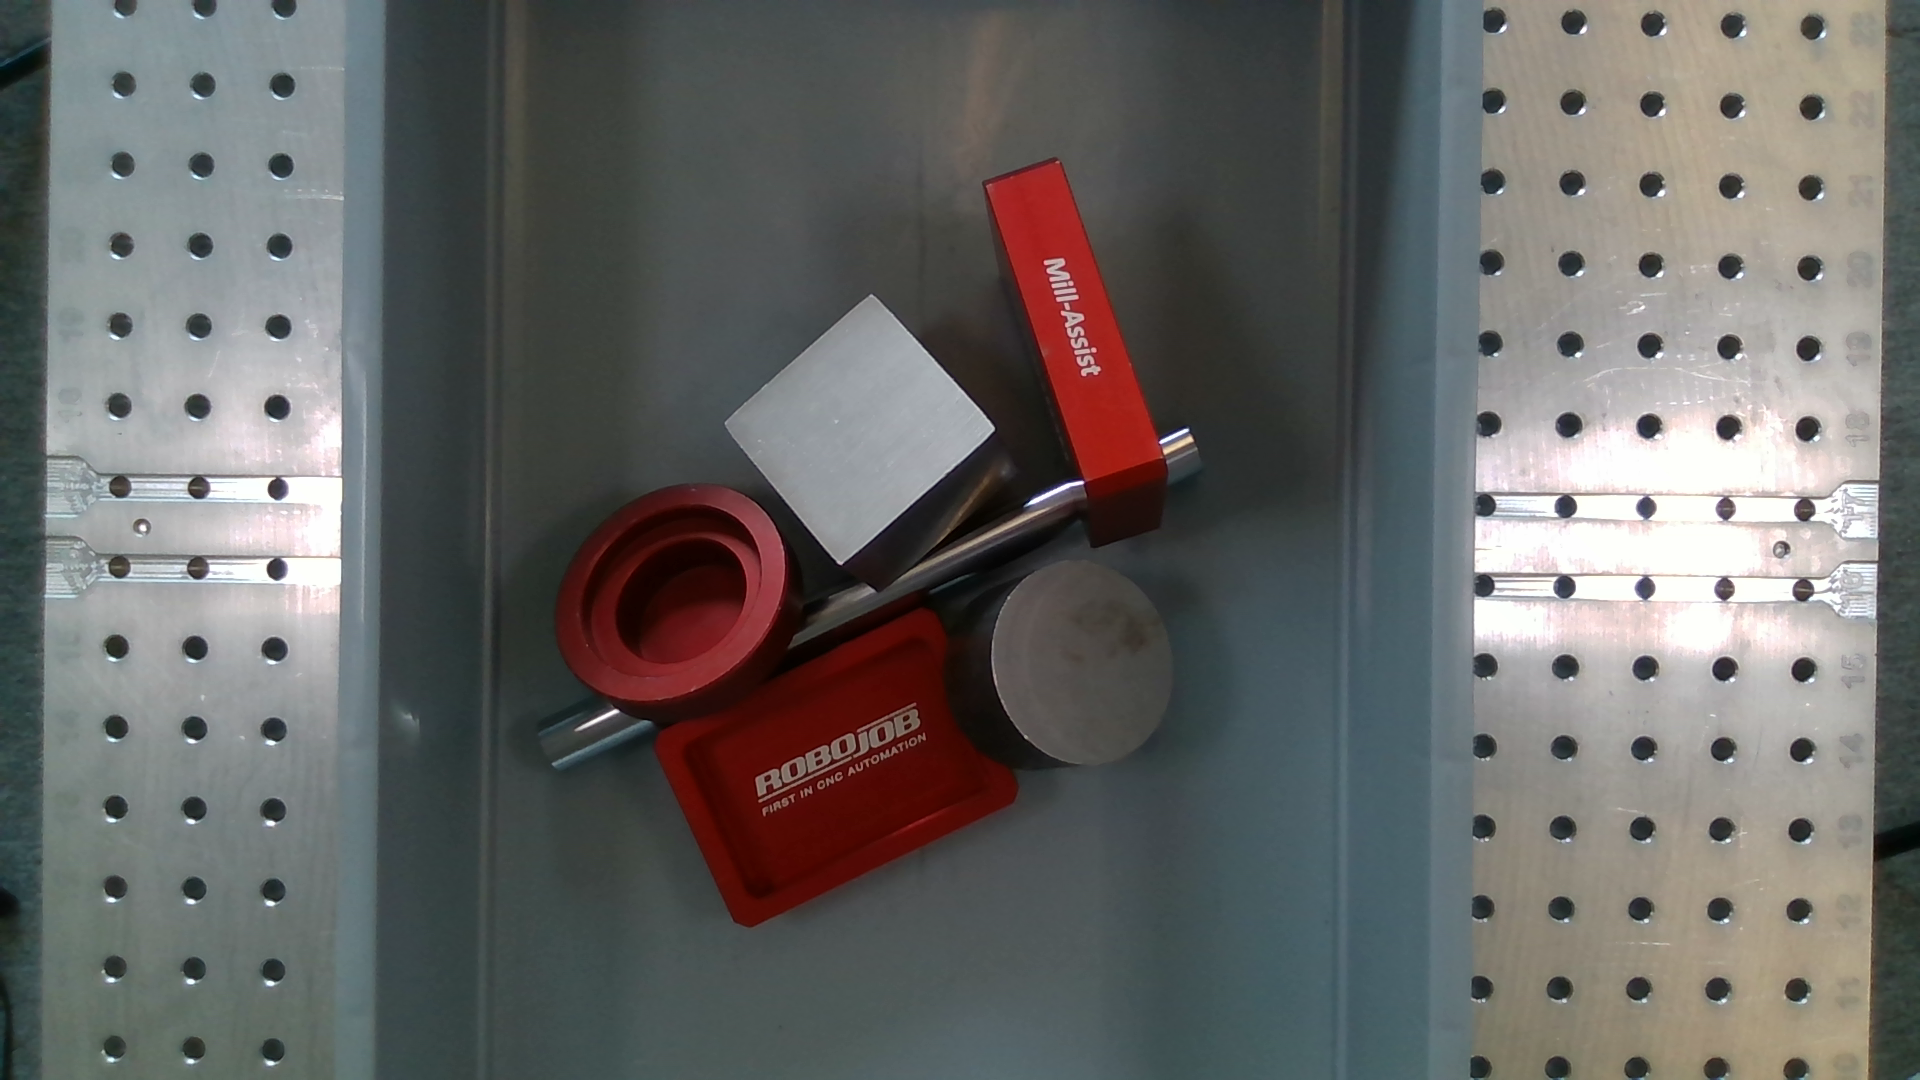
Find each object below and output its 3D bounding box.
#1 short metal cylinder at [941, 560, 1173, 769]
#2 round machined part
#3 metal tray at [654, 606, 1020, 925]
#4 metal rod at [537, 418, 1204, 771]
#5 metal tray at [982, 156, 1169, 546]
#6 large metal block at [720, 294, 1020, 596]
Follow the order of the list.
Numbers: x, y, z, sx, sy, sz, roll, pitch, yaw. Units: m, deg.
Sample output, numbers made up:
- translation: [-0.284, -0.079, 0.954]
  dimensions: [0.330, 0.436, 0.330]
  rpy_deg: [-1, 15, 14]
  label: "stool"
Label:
- translation: [0.039, 0.052, 0.559]
  dimensions: [0.080, 0.050, 0.080]
  rpy_deg: [5, 77, -23]
  label: "short metal cylinder"
- translation: [-0.111, 0.029, 0.564]
  dimensions: [0.098, 0.042, 0.098]
  rpy_deg: [-6, 60, 11]
  label: "round machined part"
- translation: [-0.051, 0.094, 0.585]
  dimensions: [0.130, 0.030, 0.090]
  rpy_deg: [-25, 91, 0]
  label: "metal tray"
- translation: [-0.038, 0.023, 0.586]
  dimensions: [0.300, 0.025, 0.025]
  rpy_deg: [-25, 90, 0]
  label: "metal rod"
- translation: [0.045, -0.070, 0.539]
  dimensions: [0.030, 0.090, 0.130]
  rpy_deg: [-18, 76, 2]
  label: "metal tray"
- translation: [-0.034, -0.036, 0.555]
  dimensions: [0.080, 0.050, 0.080]
  rpy_deg: [-42, 72, 1]
  label: "large metal block"
